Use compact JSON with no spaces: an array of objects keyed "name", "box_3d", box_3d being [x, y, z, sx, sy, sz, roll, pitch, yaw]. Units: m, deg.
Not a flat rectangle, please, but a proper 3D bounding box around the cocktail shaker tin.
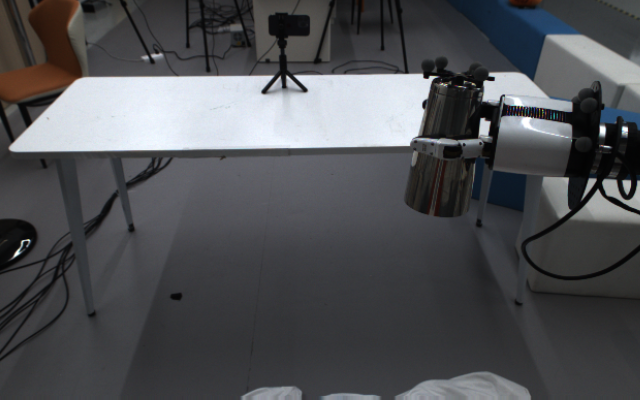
[{"name":"cocktail shaker tin","box_3d":[0.171,-0.074,0.653,0.093,0.170,0.093,3,25,-1]}]
